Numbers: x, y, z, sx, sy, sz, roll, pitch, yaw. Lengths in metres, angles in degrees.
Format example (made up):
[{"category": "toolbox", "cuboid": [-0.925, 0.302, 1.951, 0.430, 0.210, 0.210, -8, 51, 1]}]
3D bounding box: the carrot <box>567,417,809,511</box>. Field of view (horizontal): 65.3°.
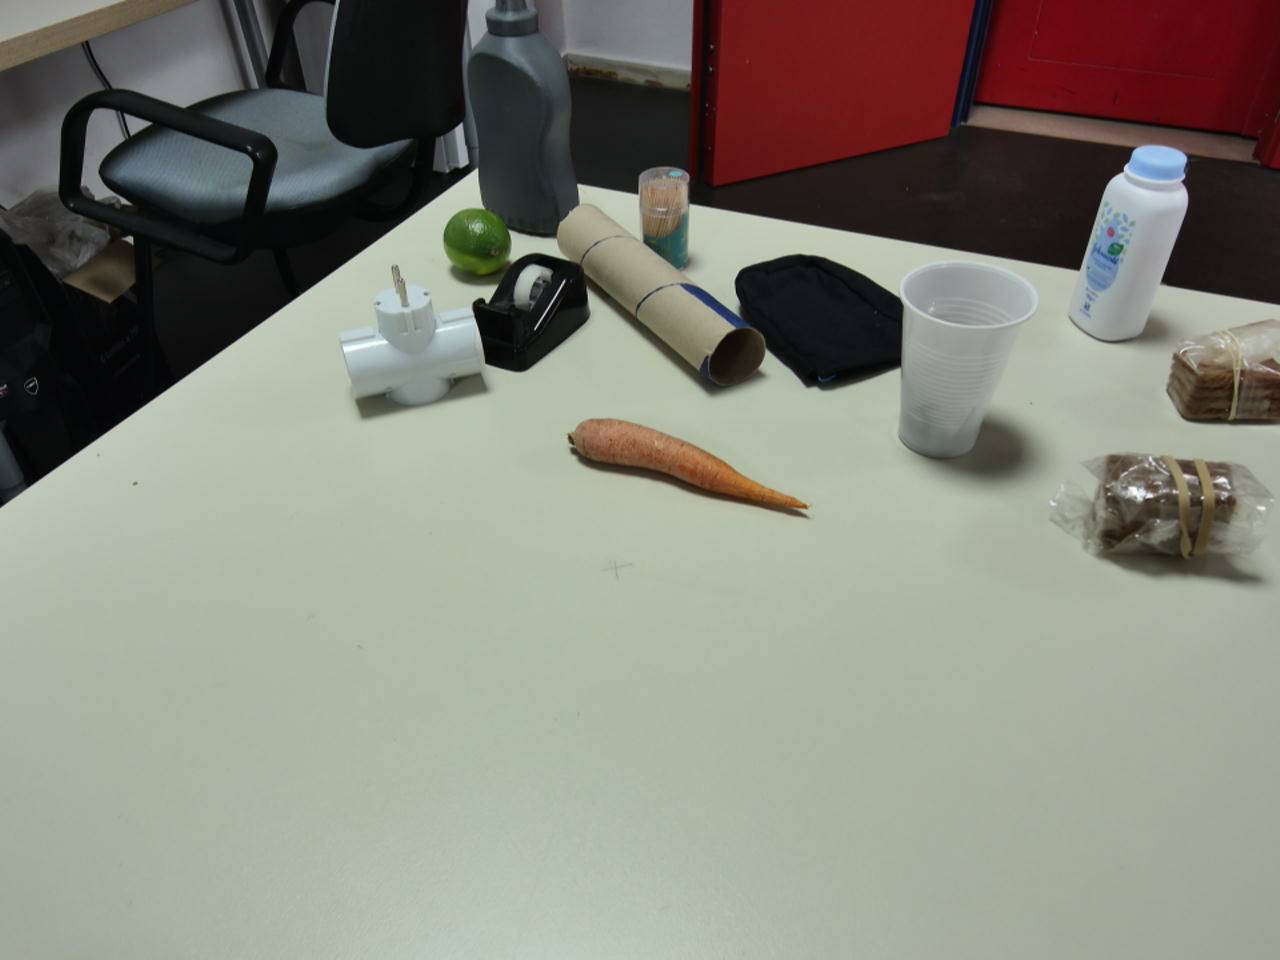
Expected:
[{"category": "carrot", "cuboid": [0.029, -0.011, 0.622, 0.163, 0.029, 0.031, 16, 41, 19]}]
